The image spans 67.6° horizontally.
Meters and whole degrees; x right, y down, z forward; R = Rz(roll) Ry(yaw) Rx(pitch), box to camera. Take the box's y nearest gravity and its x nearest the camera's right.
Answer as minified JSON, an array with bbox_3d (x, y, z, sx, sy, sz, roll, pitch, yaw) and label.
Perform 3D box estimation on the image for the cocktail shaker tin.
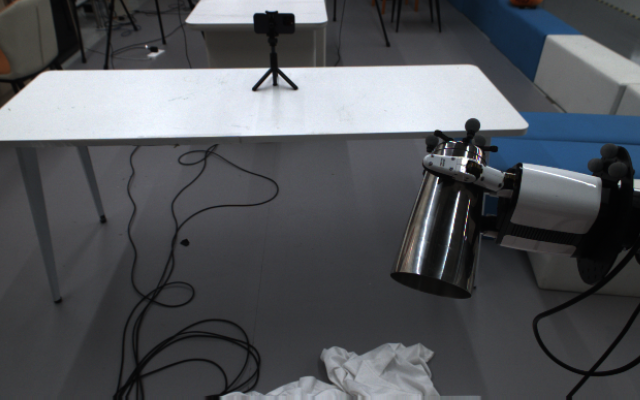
[{"bbox_3d":[0.149,0.017,0.572,0.093,0.093,0.170,13,71,16],"label":"cocktail shaker tin"}]
